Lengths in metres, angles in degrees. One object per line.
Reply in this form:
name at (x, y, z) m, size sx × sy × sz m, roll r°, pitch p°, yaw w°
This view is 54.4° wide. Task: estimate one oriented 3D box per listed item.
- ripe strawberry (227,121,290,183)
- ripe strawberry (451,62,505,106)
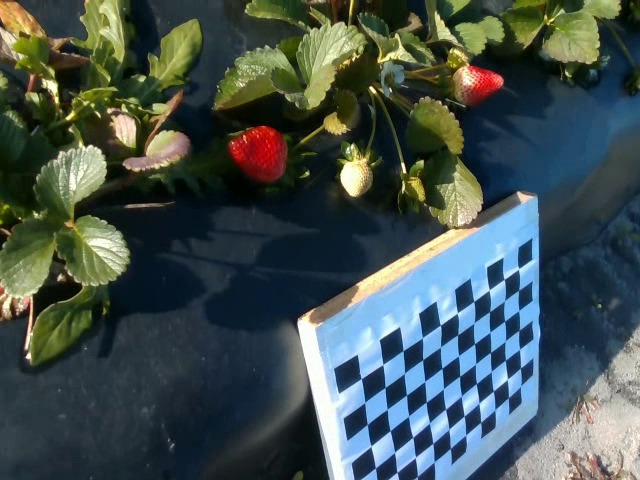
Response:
ripe strawberry at (-0.040, -0.055, 0.380) m, size 0.036 × 0.044 × 0.053 m, roll 19°, pitch 10°, yaw 39°
ripe strawberry at (0.124, -0.123, 0.490) m, size 0.045 × 0.037 × 0.042 m, roll -6°, pitch 40°, yaw 27°
